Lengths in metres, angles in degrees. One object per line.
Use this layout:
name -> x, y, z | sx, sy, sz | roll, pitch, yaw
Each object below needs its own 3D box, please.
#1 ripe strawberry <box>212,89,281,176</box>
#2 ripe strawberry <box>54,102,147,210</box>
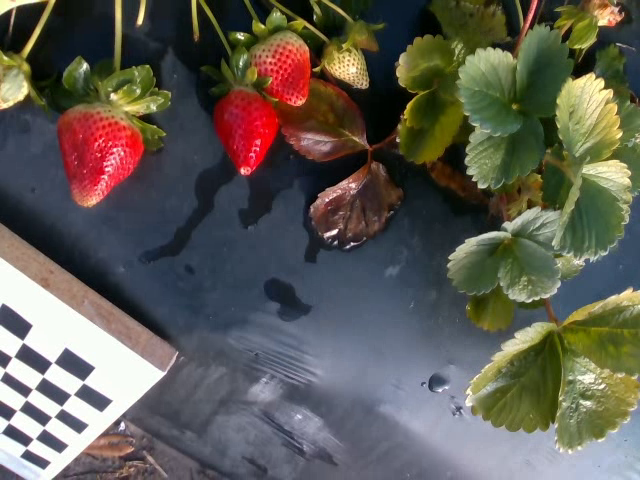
ripe strawberry -> -0.046, -0.061, 0.354 | 0.044, 0.055, 0.041 | -12, -21, 29
ripe strawberry -> -0.130, -0.048, 0.345 | 0.050, 0.065, 0.050 | 9, -17, 17
